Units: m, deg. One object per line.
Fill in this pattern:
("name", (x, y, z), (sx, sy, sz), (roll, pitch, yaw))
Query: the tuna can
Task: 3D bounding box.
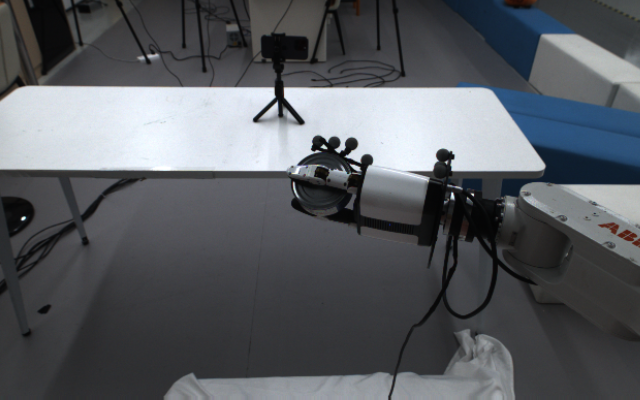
("tuna can", (0.005, -0.024, 0.680), (0.085, 0.034, 0.085), (-4, 67, 10))
